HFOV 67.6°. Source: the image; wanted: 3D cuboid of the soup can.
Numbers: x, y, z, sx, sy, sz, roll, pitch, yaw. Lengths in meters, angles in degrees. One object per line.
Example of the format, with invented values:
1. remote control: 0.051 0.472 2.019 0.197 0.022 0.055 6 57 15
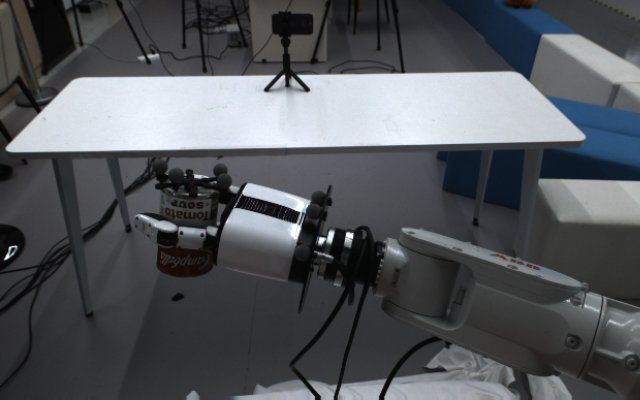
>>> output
1. soup can: -0.155 0.032 0.574 0.067 0.101 0.067 8 19 -3
